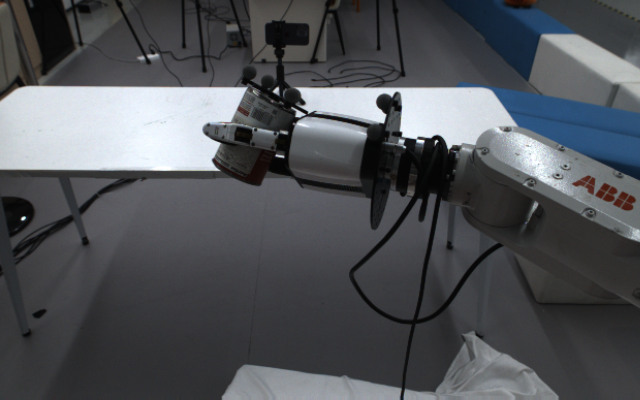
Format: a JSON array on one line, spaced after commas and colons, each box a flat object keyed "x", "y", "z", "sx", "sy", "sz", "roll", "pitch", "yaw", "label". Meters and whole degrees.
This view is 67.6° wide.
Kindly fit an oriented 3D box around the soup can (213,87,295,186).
[{"x": -0.079, "y": -0.077, "z": 0.593, "sx": 0.067, "sy": 0.101, "sz": 0.067, "roll": 27, "pitch": 10, "yaw": -5, "label": "soup can"}]
